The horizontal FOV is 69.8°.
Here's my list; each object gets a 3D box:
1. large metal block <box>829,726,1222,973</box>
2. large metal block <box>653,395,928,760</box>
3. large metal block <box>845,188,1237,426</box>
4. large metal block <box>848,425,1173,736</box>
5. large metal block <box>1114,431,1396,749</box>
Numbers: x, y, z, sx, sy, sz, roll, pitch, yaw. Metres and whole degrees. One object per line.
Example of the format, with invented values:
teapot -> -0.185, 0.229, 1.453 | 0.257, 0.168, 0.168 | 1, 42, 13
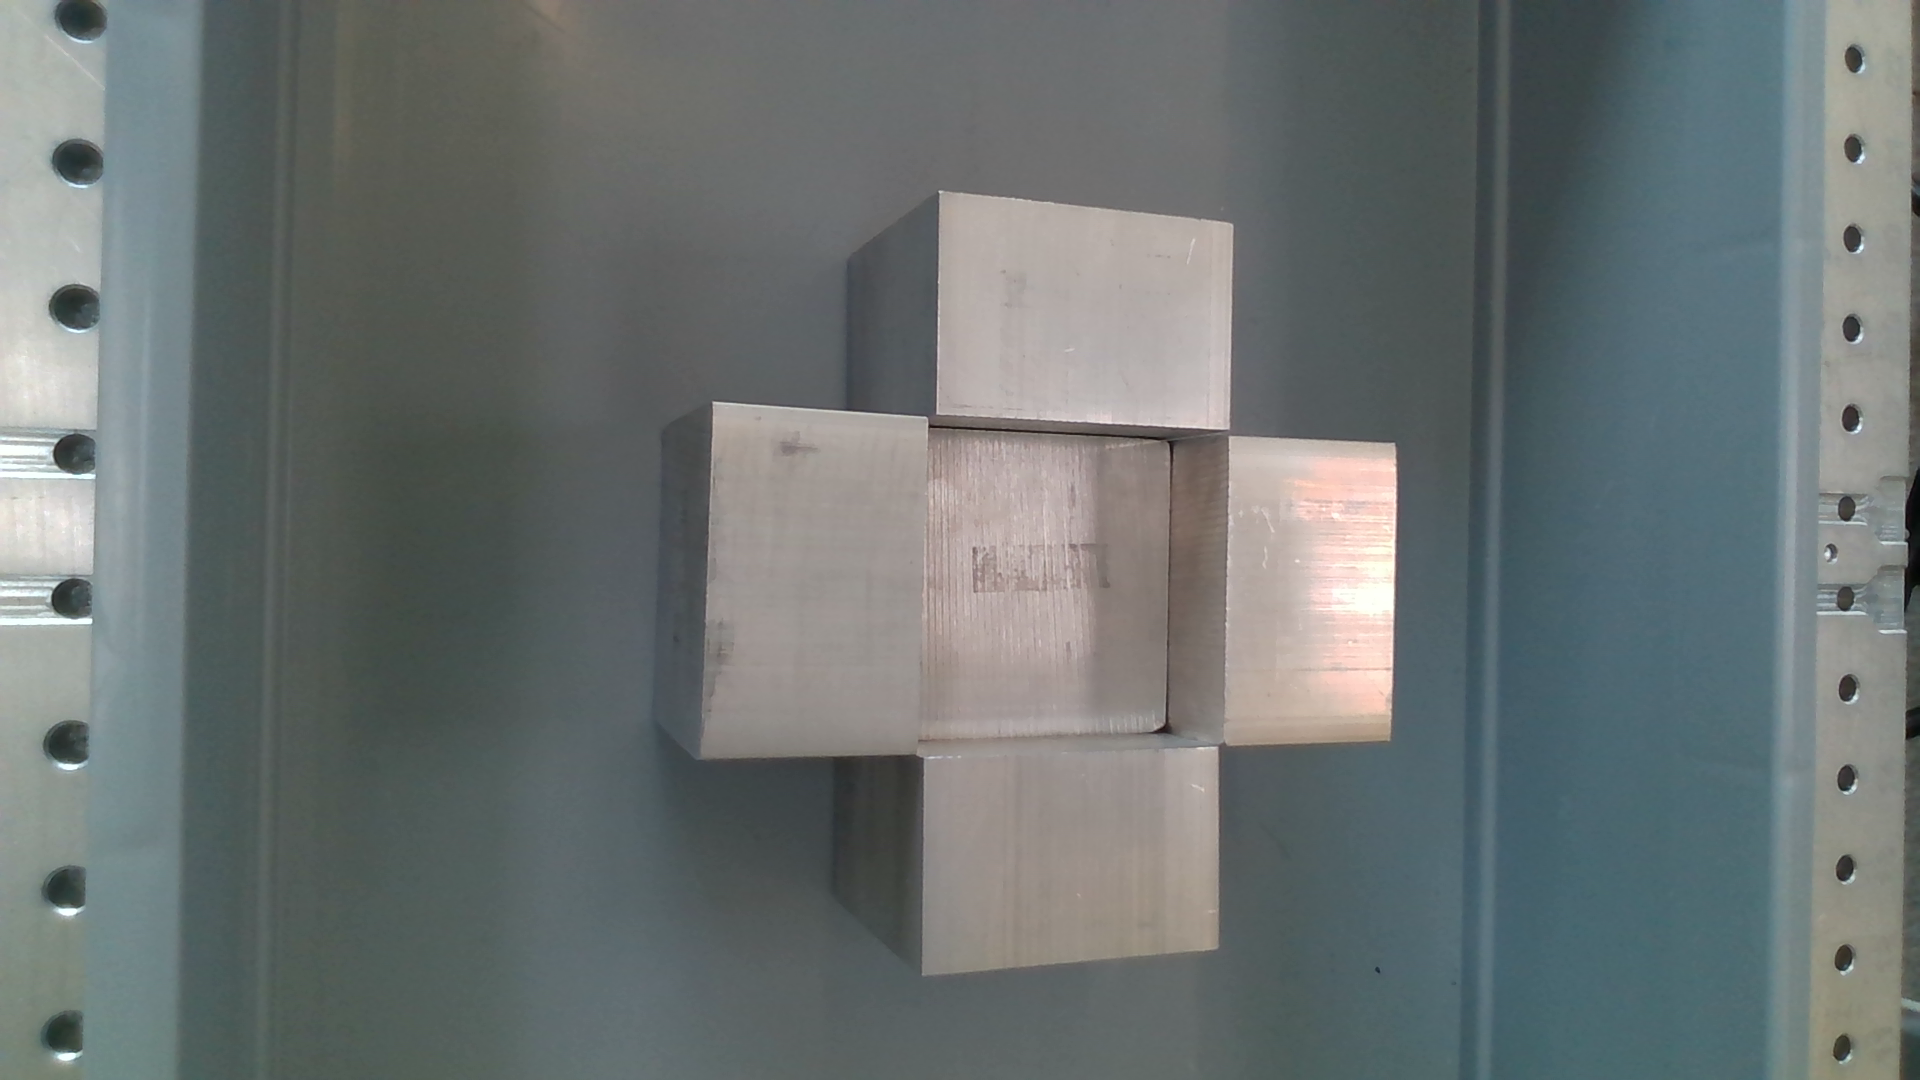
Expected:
large metal block -> 0.014, 0.076, 0.370 | 0.080, 0.080, 0.050 | 1, 90, -20
large metal block -> -0.046, 0.009, 0.347 | 0.050, 0.080, 0.080 | 2, 89, -20
large metal block -> 0.018, -0.056, 0.371 | 0.080, 0.080, 0.050 | 1, 90, -20
large metal block -> 0.011, 0.011, 0.383 | 0.080, 0.050, 0.080 | 1, 90, -20
large metal block -> 0.077, 0.013, 0.392 | 0.050, 0.080, 0.080 | 1, 90, -20
